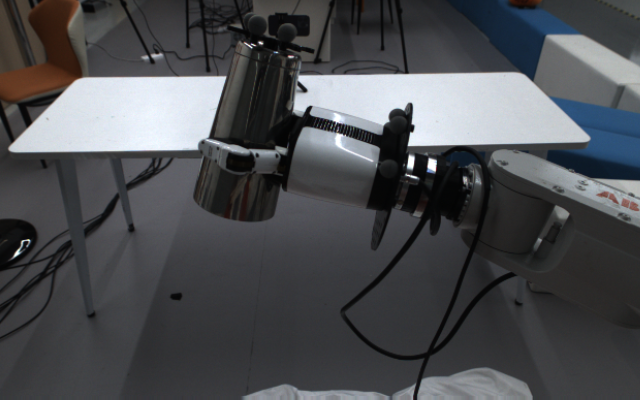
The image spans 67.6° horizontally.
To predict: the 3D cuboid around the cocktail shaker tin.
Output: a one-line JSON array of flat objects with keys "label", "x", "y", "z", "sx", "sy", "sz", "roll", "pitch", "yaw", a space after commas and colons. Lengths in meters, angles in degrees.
[{"label": "cocktail shaker tin", "x": -0.071, "y": -0.072, "z": 0.509, "sx": 0.093, "sy": 0.170, "sz": 0.093, "roll": 15, "pitch": 19, "yaw": -5}]
